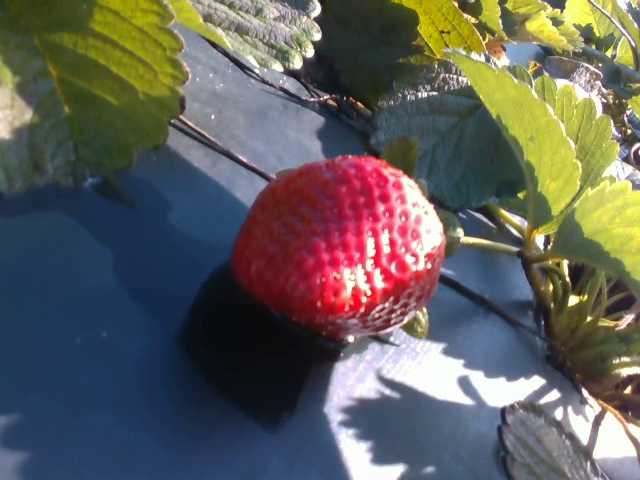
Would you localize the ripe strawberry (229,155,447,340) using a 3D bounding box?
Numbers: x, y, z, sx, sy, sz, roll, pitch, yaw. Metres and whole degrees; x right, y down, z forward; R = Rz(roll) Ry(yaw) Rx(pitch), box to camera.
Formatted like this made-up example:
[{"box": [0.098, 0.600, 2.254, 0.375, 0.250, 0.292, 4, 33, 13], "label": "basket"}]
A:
[{"box": [0.002, 0.004, 0.111, 0.044, 0.042, 0.056, -9, 11, 22], "label": "ripe strawberry"}]
